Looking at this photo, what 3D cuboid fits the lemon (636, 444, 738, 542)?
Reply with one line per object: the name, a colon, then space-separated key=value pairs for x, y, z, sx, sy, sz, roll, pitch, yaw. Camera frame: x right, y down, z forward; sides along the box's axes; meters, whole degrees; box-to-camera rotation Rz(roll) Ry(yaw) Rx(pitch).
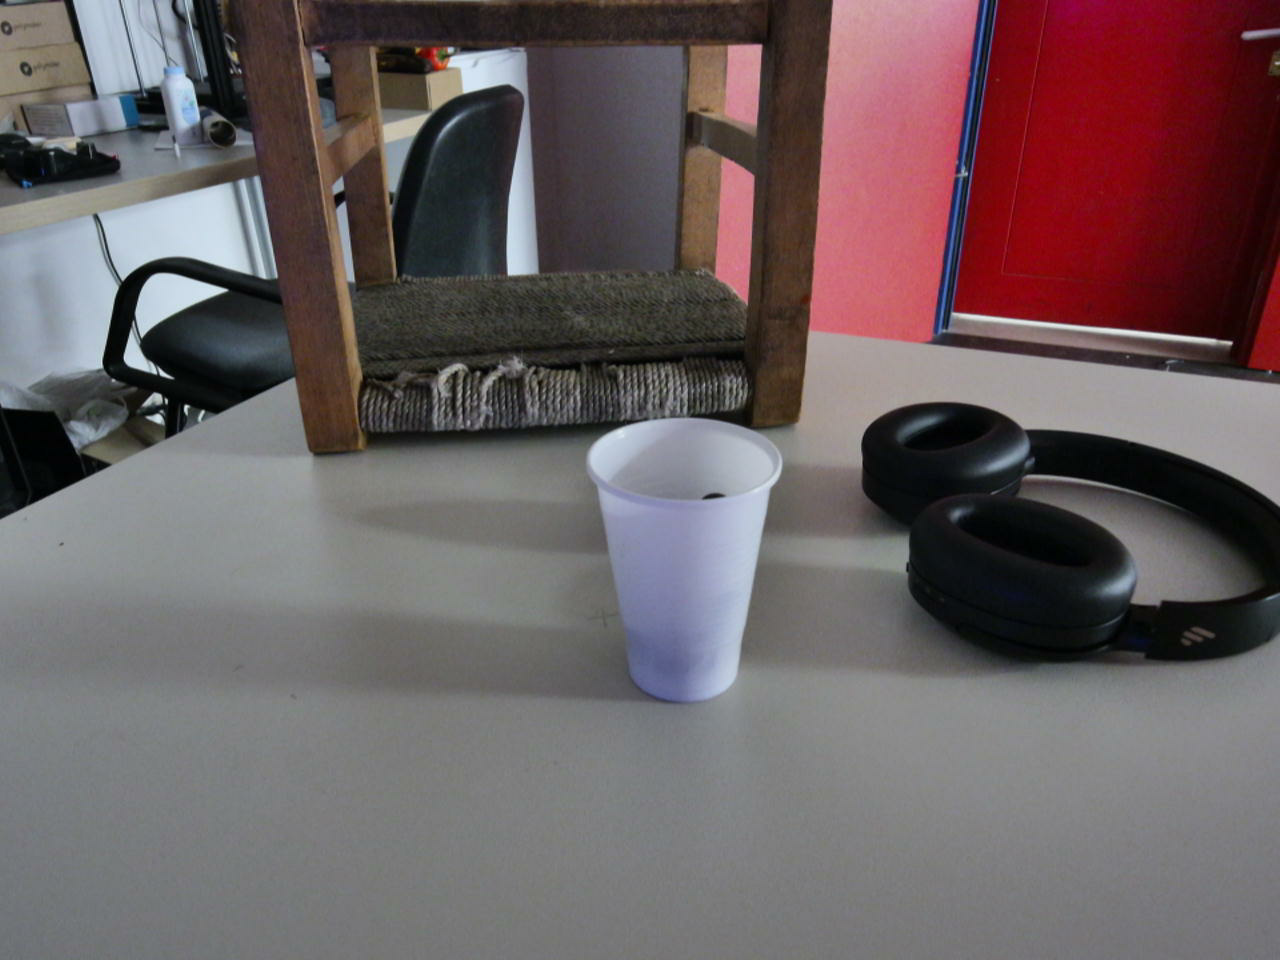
lemon: x=0.025 y=0.006 z=0.544 sx=0.057 sy=0.051 sz=0.054 roll=10 pitch=27 yaw=19
